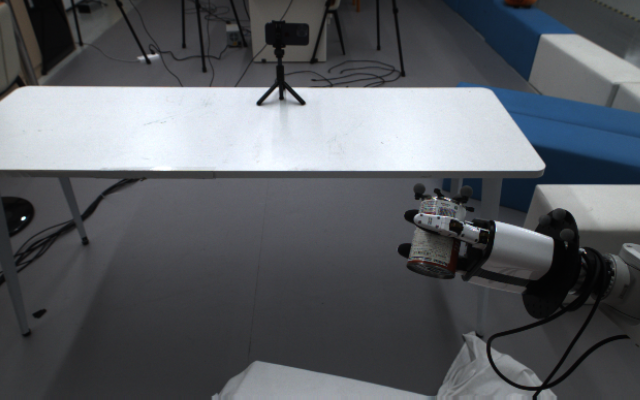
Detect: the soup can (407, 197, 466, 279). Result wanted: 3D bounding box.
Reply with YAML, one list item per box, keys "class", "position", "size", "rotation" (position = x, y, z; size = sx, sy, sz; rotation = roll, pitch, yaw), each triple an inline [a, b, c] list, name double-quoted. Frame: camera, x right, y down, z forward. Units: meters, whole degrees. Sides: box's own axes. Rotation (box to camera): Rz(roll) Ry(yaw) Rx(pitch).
- class: "soup can"
  position: [0.168, 0.053, 0.689]
  size: [0.067, 0.067, 0.101]
  rotation: [11, 72, 13]
